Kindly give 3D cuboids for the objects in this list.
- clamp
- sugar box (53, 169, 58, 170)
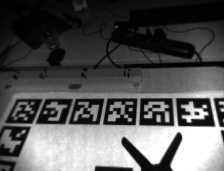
[{"bbox_3d":[0.099,0.216,0.547,0.165,0.037,0.201,-8,51,4],"label":"clamp"},{"bbox_3d":[-0.137,0.296,0.501,0.093,0.046,0.174,-29,46,-13],"label":"sugar box"}]
